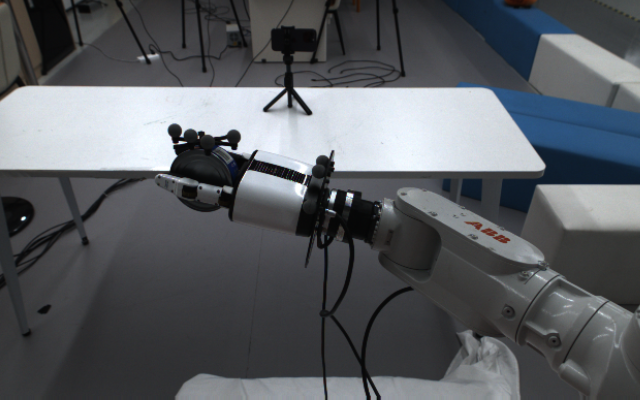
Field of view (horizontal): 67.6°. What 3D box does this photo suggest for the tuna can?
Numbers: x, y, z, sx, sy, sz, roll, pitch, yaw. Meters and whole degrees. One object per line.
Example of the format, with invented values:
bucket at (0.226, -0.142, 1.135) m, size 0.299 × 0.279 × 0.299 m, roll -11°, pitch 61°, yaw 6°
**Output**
tuna can at (-0.149, -0.029, 0.634) m, size 0.085 × 0.085 × 0.034 m, roll 9°, pitch 22°, yaw 9°
